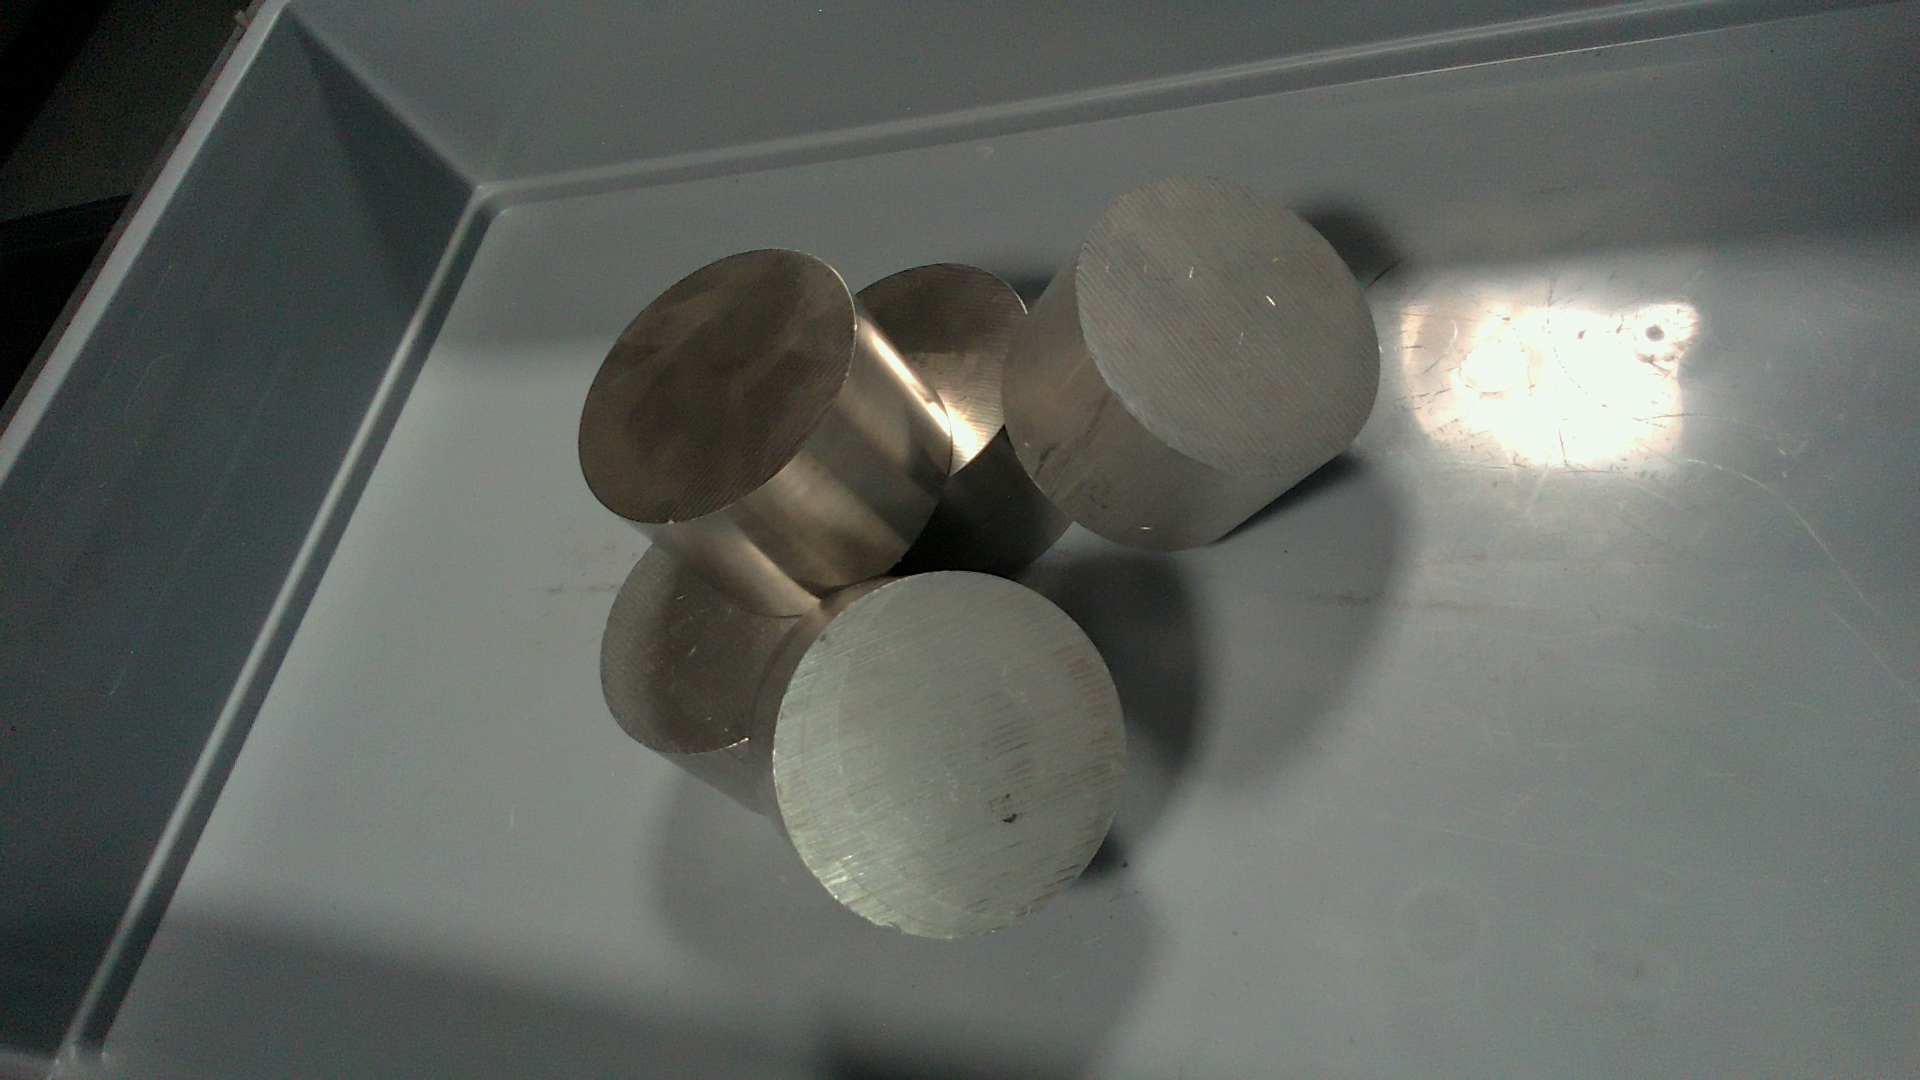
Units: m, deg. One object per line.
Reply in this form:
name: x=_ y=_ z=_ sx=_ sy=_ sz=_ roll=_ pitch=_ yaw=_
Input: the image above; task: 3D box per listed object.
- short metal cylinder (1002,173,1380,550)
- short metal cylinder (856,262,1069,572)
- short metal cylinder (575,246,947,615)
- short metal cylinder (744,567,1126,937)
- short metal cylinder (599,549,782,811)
short metal cylinder: x=0.056 y=-0.044 z=0.346 sx=0.080 sy=0.050 sz=0.080 roll=7 pitch=66 yaw=-17
short metal cylinder: x=-0.006 y=-0.033 z=0.399 sx=0.080 sy=0.050 sz=0.080 roll=-14 pitch=56 yaw=21
short metal cylinder: x=-0.050 y=-0.028 z=0.354 sx=0.080 sy=0.050 sz=0.080 roll=-14 pitch=56 yaw=21
short metal cylinder: x=-0.008 y=0.047 z=0.323 sx=0.080 sy=0.080 sz=0.050 roll=-55 pitch=11 yaw=-11
short metal cylinder: x=-0.053 y=0.032 z=0.386 sx=0.080 sy=0.050 sz=0.080 roll=-14 pitch=56 yaw=21
